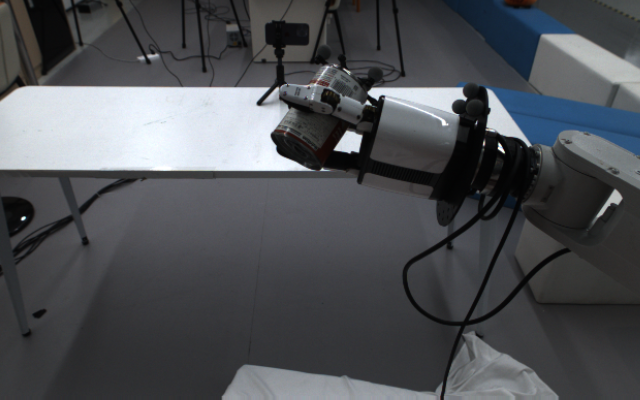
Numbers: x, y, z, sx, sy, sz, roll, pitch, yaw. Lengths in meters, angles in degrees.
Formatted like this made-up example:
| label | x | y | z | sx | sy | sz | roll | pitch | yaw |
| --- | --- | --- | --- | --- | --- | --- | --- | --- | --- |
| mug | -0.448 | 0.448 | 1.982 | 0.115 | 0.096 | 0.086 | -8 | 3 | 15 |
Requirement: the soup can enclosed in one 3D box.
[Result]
| label | x | y | z | sx | sy | sz | roll | pitch | yaw |
| --- | --- | --- | --- | --- | --- | --- | --- | --- | --- |
| soup can | 0.000 | -0.095 | 0.549 | 0.067 | 0.067 | 0.101 | 27 | 76 | 31 |
